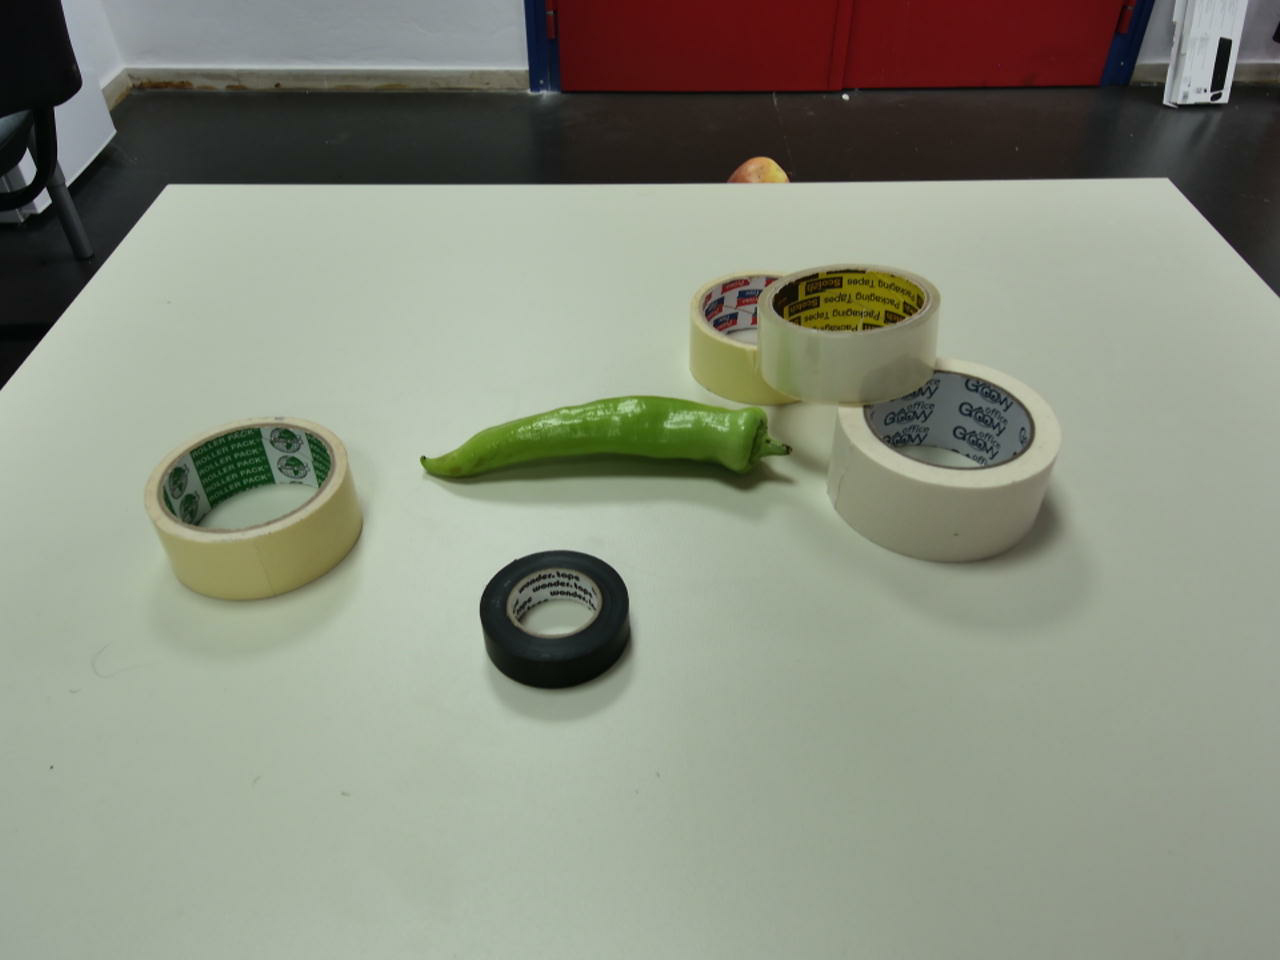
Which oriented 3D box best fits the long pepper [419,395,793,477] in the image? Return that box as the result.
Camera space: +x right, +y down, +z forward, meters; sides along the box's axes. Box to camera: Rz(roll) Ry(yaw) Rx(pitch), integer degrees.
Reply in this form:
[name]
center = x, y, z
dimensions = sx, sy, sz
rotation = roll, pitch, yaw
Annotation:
[long pepper]
center = -0.019, -0.024, 0.531
dimensions = 0.197, 0.038, 0.046
rotation = 1, 39, 2
